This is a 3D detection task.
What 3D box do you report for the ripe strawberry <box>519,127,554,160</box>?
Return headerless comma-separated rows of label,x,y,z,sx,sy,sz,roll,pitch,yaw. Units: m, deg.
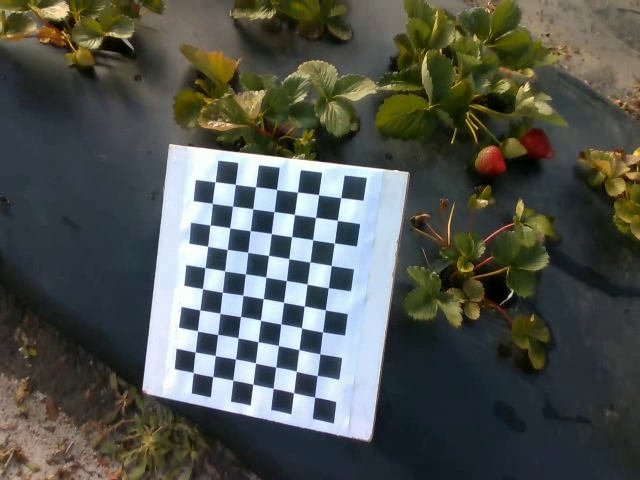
ripe strawberry,0.334,-0.143,0.920,0.048,0.065,0.050,-42,-11,12
